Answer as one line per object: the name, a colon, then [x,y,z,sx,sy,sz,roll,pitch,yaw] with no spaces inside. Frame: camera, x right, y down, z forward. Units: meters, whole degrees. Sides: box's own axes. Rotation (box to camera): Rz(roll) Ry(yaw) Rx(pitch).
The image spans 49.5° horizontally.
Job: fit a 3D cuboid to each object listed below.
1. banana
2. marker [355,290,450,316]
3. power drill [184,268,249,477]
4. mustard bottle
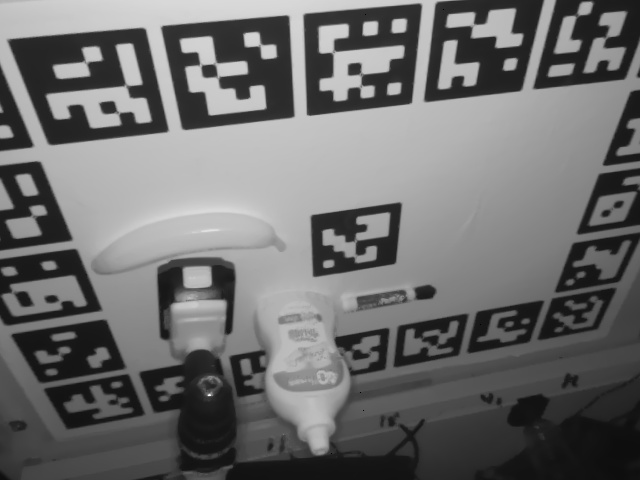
banana: [-0.117,-0.008,0.731,0.199,0.039,0.073,-3,129,-15]
marker: [0.105,0.079,0.874,0.122,0.020,0.019,-6,130,-10]
power drill: [-0.108,0.121,0.715,0.058,0.188,0.182,4,131,-14]
mustard bottle: [-0.005,0.145,0.785,0.097,0.192,0.058,2,130,-14]
